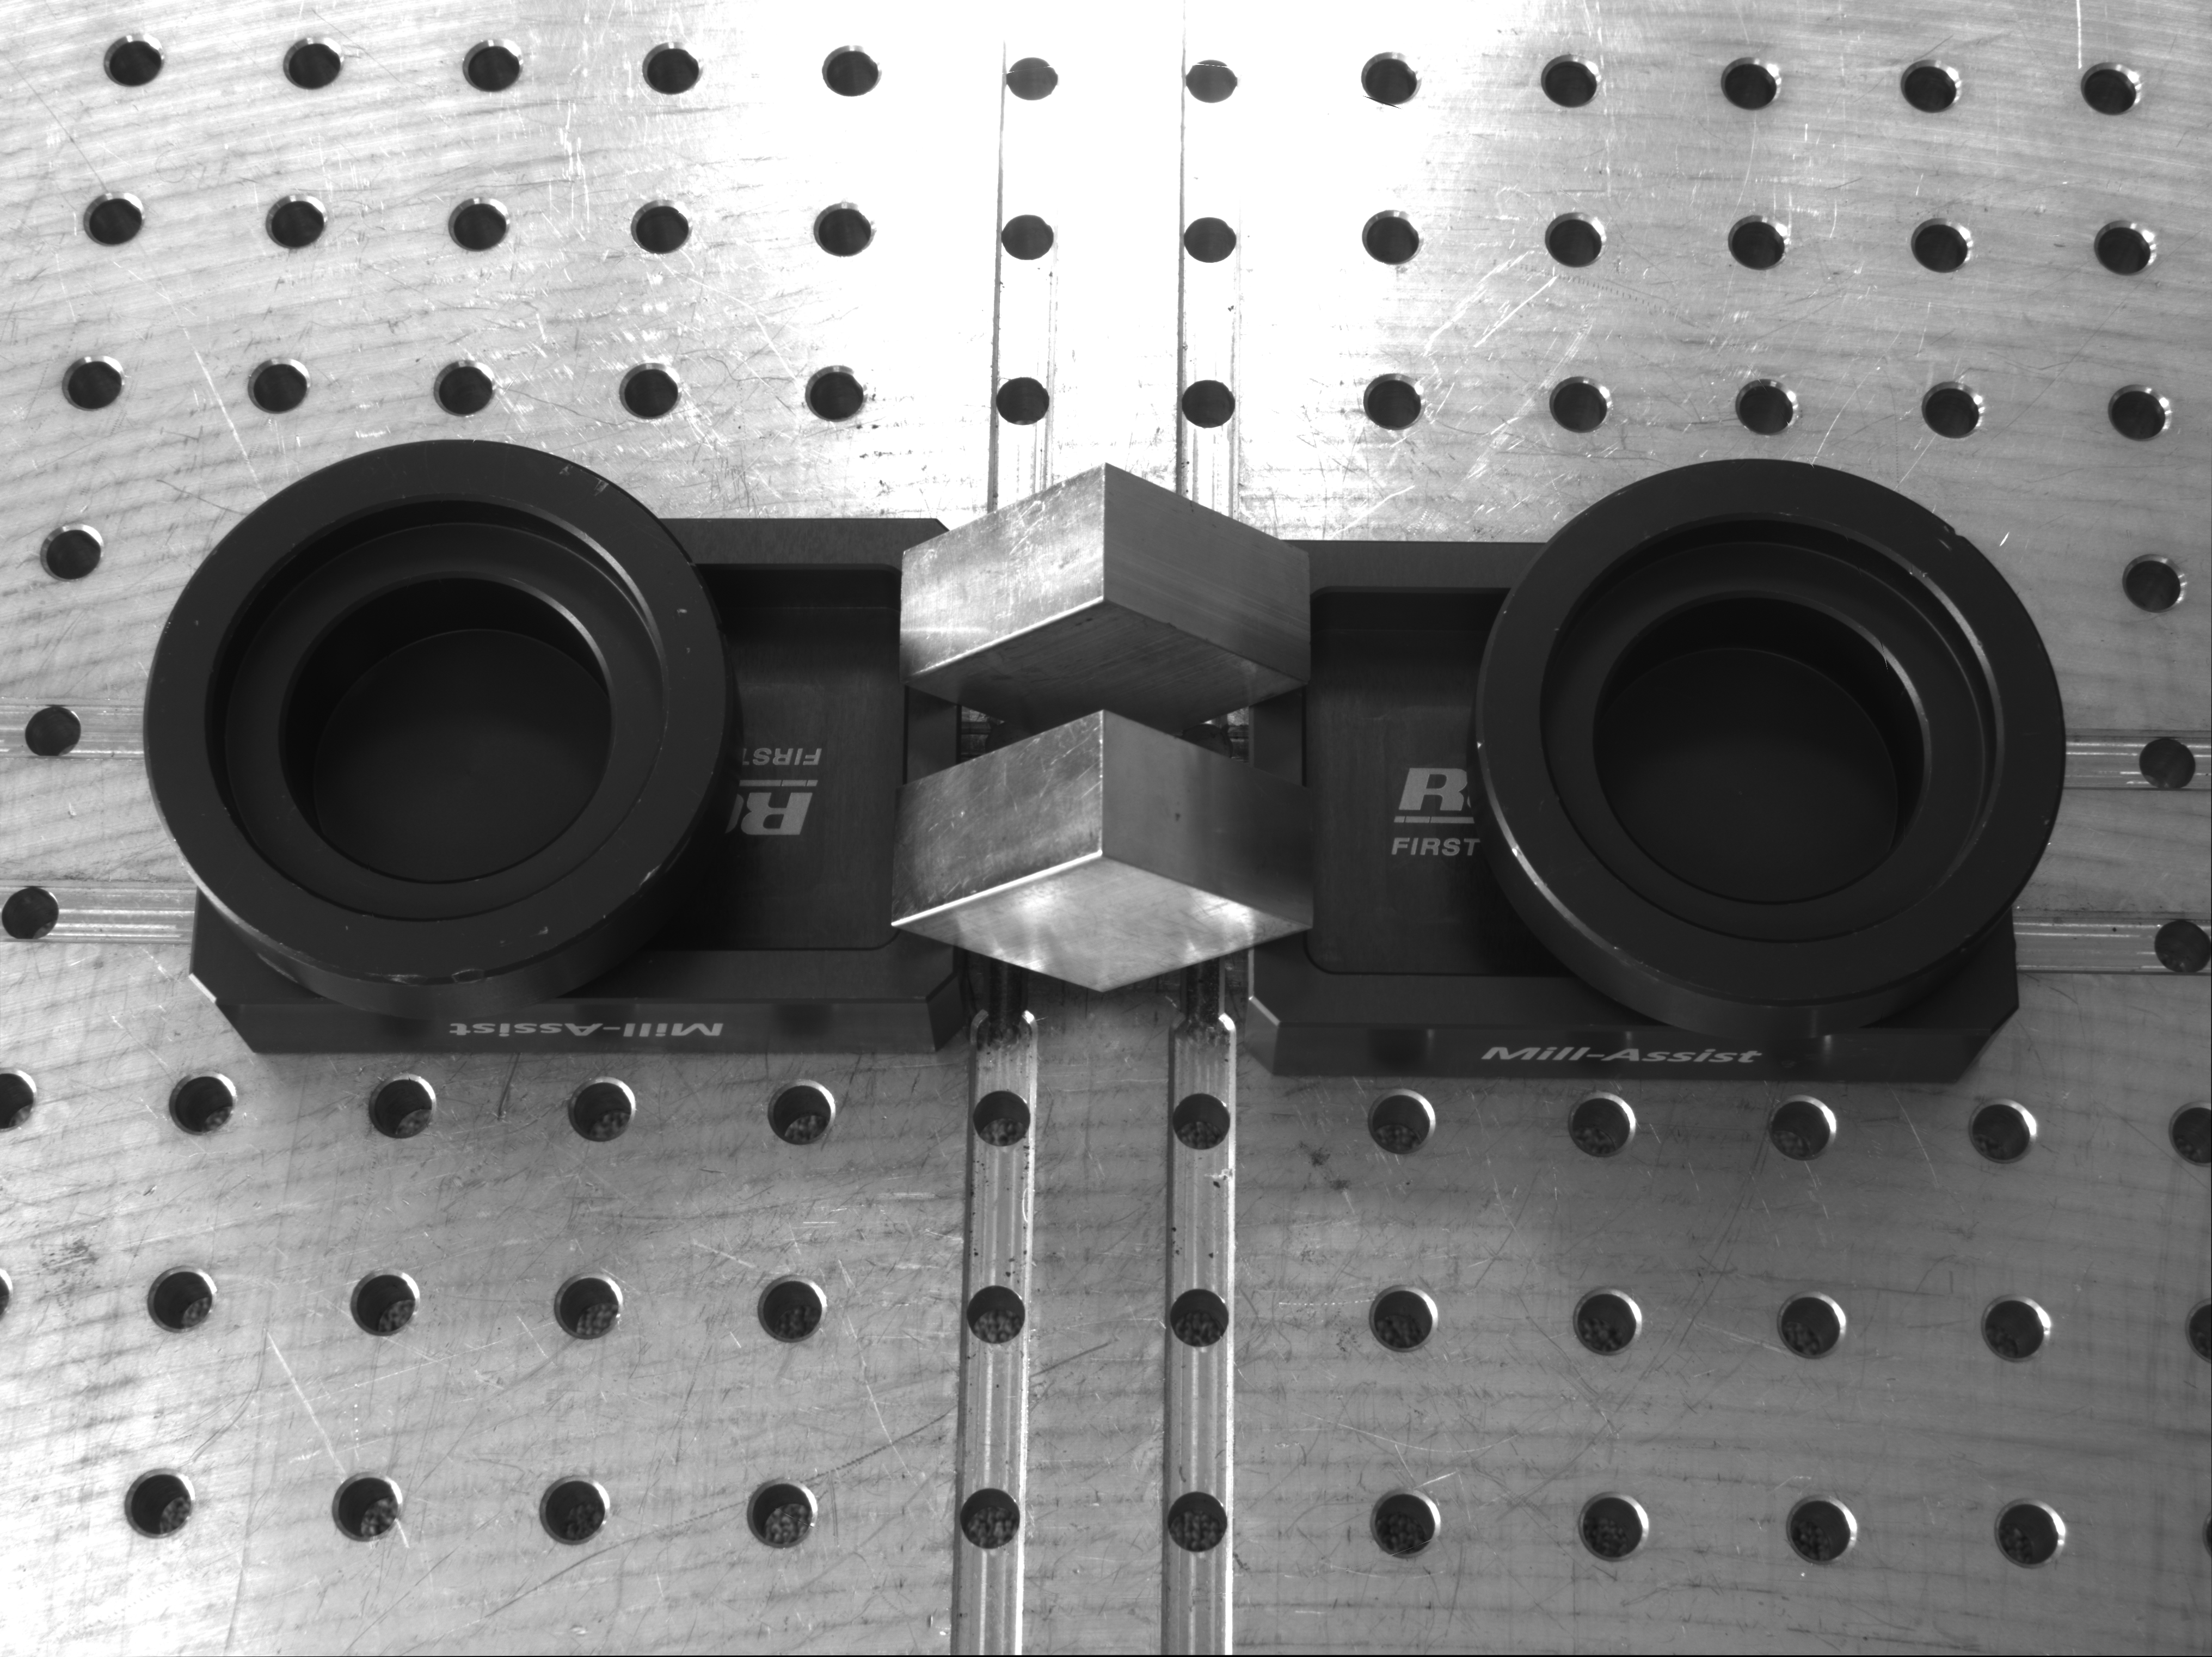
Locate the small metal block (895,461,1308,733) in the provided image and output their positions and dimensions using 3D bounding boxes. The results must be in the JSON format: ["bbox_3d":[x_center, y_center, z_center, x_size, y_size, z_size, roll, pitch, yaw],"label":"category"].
[{"bbox_3d":[-0.001,-0.037,0.632,0.050,0.050,0.025,-18,63,42],"label":"small metal block"}]

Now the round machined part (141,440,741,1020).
[{"bbox_3d":[-0.111,-0.014,0.630,0.098,0.042,0.098,0,70,0],"label":"round machined part"}]

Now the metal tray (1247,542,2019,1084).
[{"bbox_3d":[0.090,-0.003,0.646,0.130,0.030,0.090,1,70,0],"label":"metal tray"}]

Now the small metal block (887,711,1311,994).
[{"bbox_3d":[-0.001,0.005,0.616,0.050,0.050,0.025,-18,63,42],"label":"small metal block"}]

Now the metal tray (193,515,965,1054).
[{"bbox_3d":[-0.090,-0.008,0.648,0.130,0.030,0.090,-1,72,0],"label":"metal tray"}]

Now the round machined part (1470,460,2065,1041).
[{"bbox_3d":[0.111,-0.010,0.629,0.098,0.042,0.098,0,70,0],"label":"round machined part"}]
